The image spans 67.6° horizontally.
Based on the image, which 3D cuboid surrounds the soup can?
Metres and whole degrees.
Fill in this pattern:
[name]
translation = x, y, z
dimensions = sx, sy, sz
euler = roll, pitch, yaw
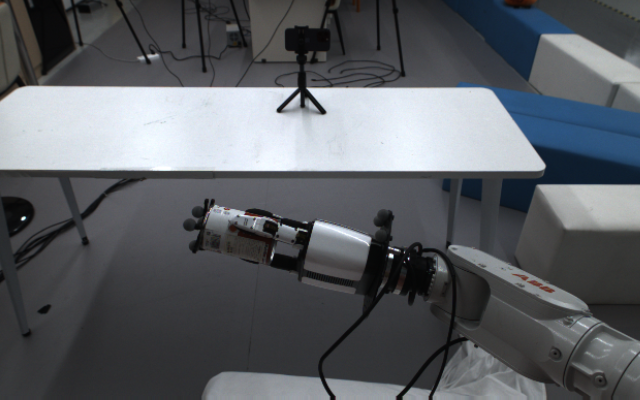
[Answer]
[soup can]
translation = -0.111, 0.051, 0.695
dimensions = 0.101, 0.067, 0.067
euler = 13, 35, -1
